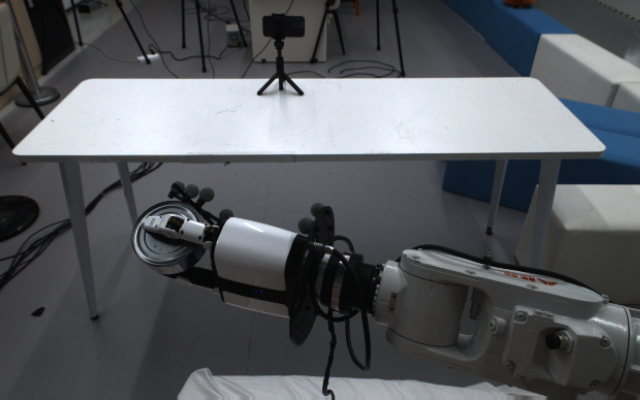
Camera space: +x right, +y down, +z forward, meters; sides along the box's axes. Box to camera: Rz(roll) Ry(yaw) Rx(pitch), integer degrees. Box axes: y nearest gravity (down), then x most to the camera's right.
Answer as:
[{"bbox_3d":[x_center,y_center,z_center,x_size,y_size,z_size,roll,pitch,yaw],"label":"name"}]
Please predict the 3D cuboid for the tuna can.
[{"bbox_3d":[-0.180,0.046,0.587,0.085,0.034,0.085,-2,59,3],"label":"tuna can"}]
